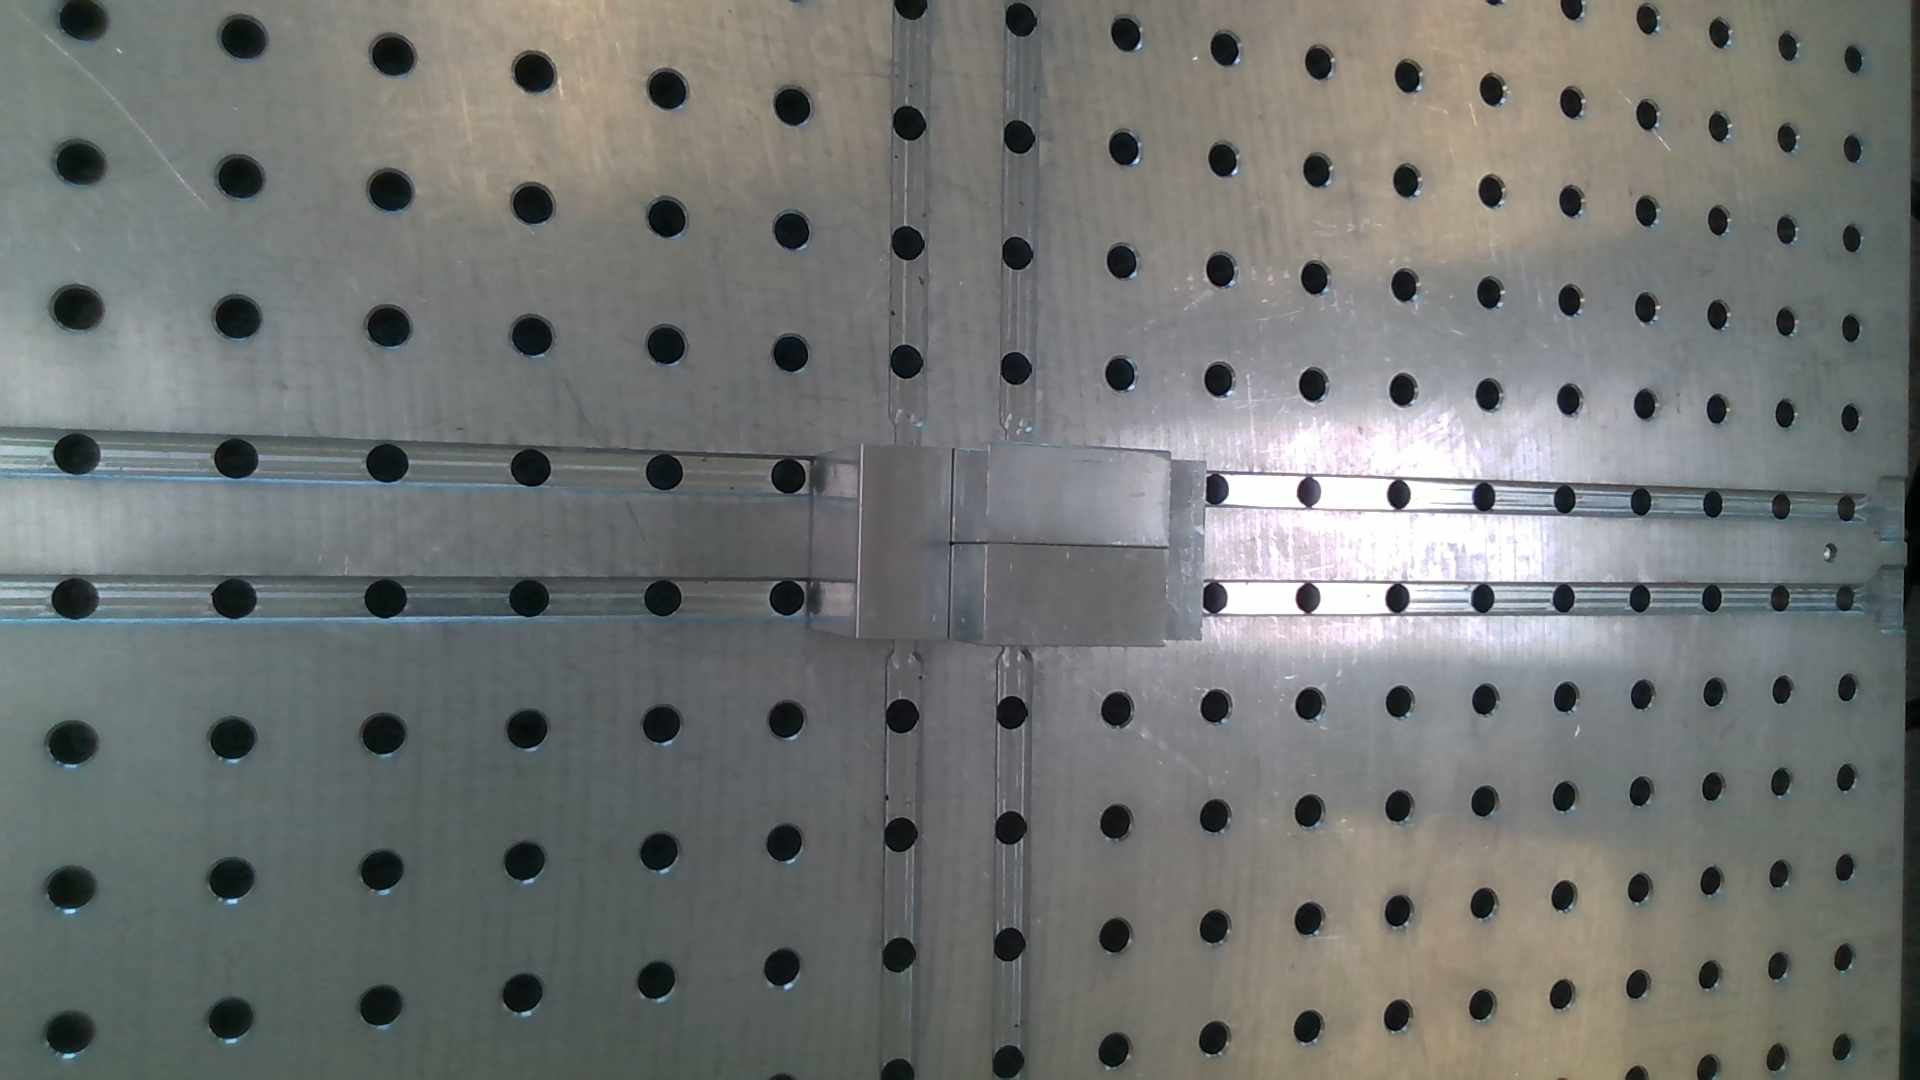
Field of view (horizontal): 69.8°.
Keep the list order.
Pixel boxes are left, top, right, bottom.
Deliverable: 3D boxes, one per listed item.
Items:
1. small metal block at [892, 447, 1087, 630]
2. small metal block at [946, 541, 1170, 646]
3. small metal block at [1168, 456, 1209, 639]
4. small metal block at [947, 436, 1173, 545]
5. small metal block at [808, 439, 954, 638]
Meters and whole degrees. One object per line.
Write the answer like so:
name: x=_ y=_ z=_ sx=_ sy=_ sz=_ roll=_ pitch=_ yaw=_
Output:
small metal block: x=0.008 y=0.001 z=0.399 sx=0.050 sy=0.025 sz=0.050 roll=2 pitch=88 yaw=-20
small metal block: x=0.021 y=0.014 z=0.364 sx=0.050 sy=0.050 sz=0.025 roll=2 pitch=88 yaw=-20
small metal block: x=0.048 y=0.002 z=0.400 sx=0.025 sy=0.050 sz=0.050 roll=2 pitch=89 yaw=-20
small metal block: x=0.022 y=-0.012 z=0.364 sx=0.050 sy=0.050 sz=0.025 roll=2 pitch=89 yaw=-20
small metal block: x=-0.023 y=0.000 z=0.374 sx=0.025 sy=0.050 sz=0.050 roll=1 pitch=89 yaw=-20
